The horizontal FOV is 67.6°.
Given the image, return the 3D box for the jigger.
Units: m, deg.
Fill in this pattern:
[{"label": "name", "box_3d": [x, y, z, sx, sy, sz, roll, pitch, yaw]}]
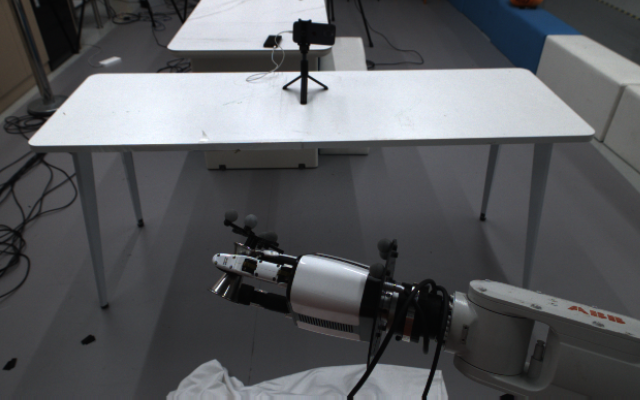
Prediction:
[{"label": "jigger", "box_3d": [-0.108, 0.090, 0.611, 0.043, 0.043, 0.071, 20, 74, 24]}]
